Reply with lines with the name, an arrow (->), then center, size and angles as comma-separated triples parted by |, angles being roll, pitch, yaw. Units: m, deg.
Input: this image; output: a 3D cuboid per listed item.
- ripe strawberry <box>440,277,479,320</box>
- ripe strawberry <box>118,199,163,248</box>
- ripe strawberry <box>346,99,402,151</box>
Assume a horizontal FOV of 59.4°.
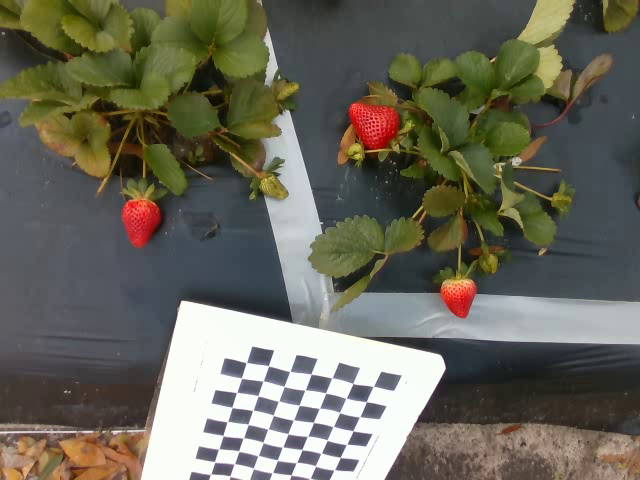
ripe strawberry -> 0.138, 0.053, 0.555 | 0.039, 0.047, 0.041 | -12, 23, 17
ripe strawberry -> -0.151, -0.017, 0.473 | 0.036, 0.046, 0.040 | 6, -14, 7
ripe strawberry -> 0.050, -0.111, 0.521 | 0.062, 0.043, 0.043 | 35, 30, -11
